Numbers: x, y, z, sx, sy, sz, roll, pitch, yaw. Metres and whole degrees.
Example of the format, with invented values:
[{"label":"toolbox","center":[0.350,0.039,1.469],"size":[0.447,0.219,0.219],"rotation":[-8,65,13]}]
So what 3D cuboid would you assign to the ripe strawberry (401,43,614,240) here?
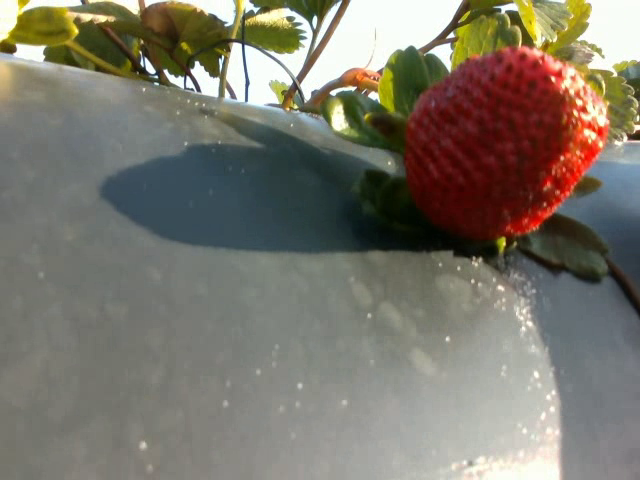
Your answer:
[{"label":"ripe strawberry","center":[0.012,-0.007,0.041],"size":[0.016,0.015,0.023],"rotation":[13,-10,-7]}]
